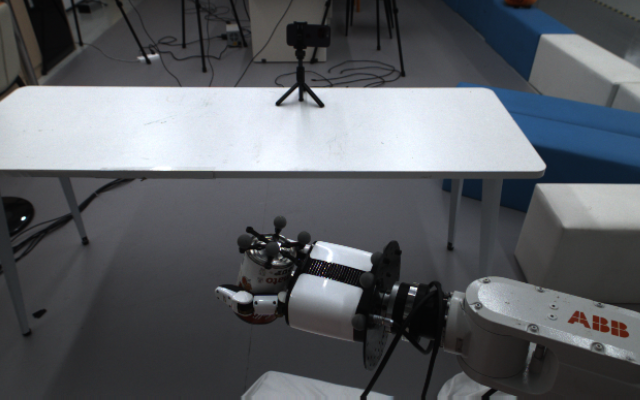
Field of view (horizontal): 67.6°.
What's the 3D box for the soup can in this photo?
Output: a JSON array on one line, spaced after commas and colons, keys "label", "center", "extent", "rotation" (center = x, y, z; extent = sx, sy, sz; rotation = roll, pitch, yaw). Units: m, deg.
[{"label": "soup can", "center": [-0.073, 0.104, 0.631], "extent": [0.067, 0.101, 0.067], "rotation": [13, 30, -8]}]
